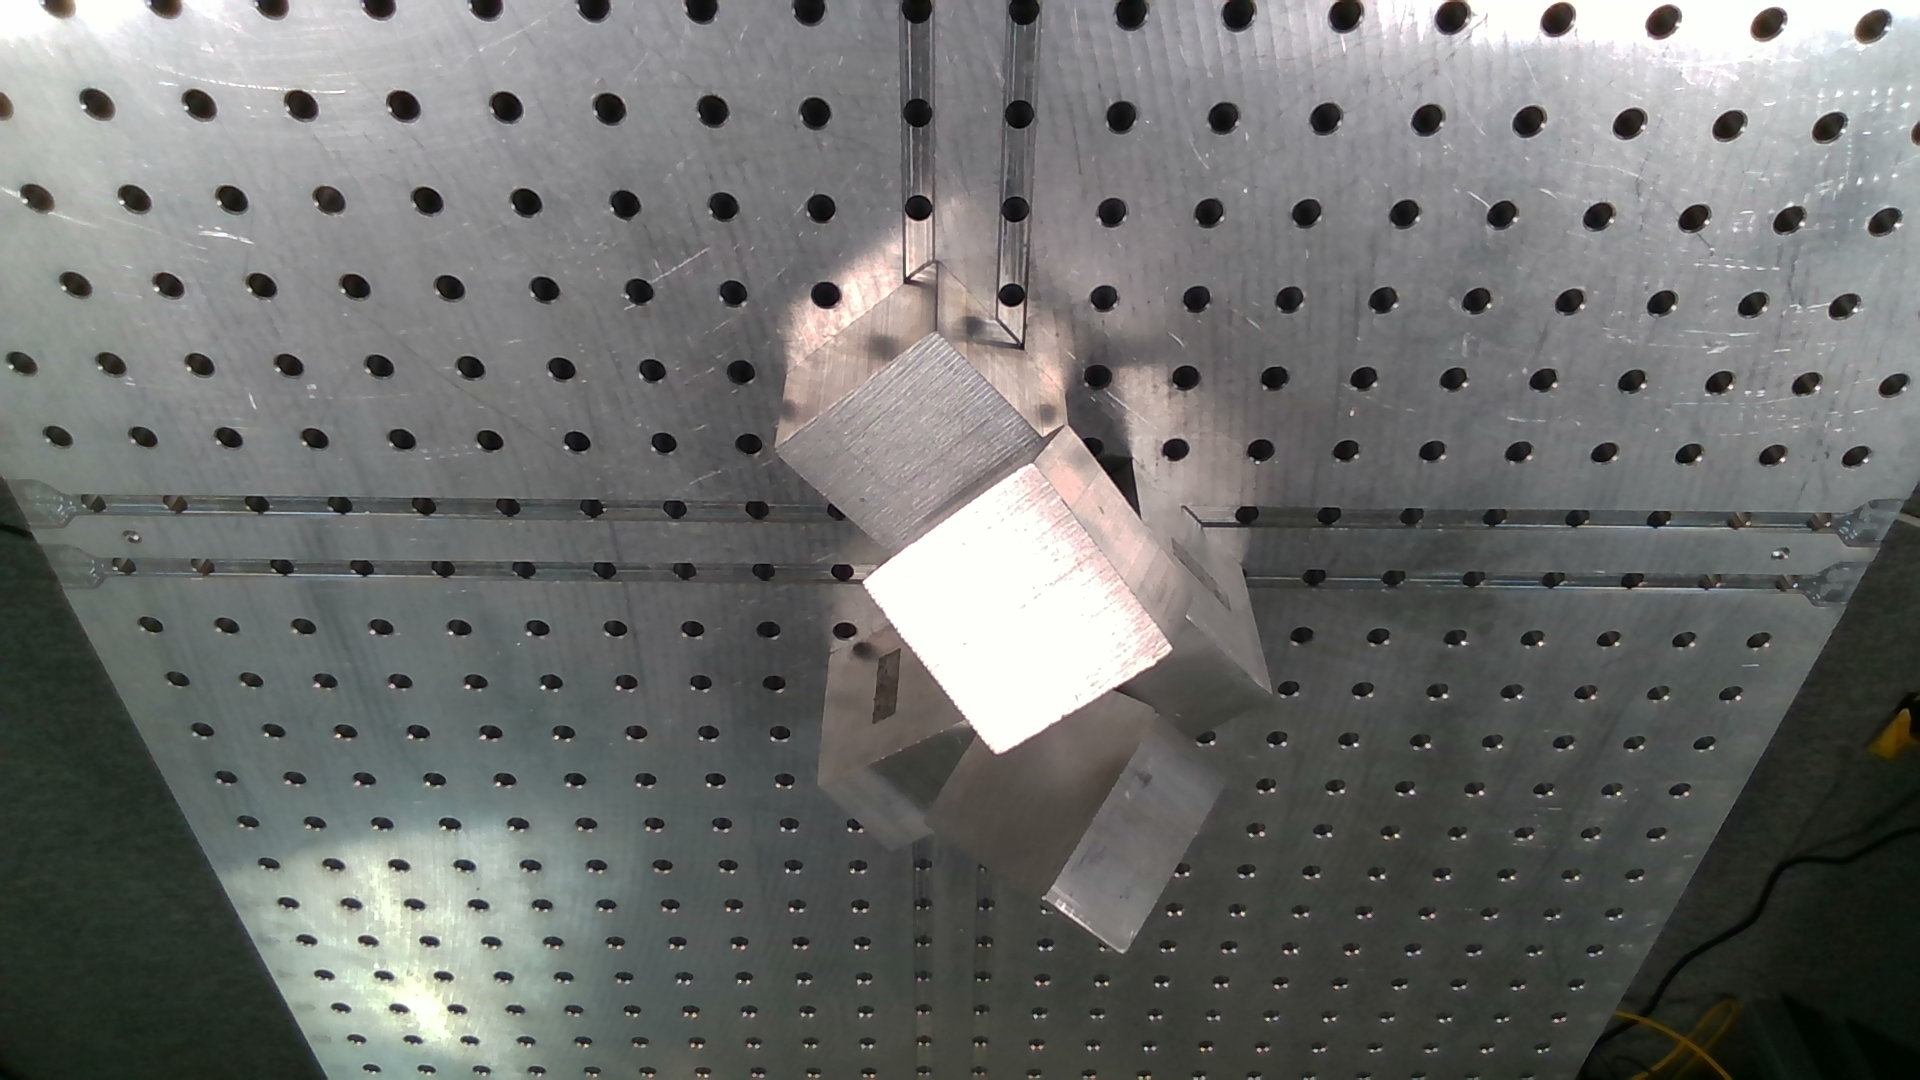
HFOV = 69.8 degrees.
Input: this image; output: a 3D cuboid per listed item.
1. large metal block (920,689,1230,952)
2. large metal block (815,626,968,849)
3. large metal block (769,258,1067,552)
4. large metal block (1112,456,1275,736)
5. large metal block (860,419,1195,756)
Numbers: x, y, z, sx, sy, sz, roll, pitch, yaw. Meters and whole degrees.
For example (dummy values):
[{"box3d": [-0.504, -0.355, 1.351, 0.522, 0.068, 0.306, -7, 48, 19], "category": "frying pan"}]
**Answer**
[{"box3d": [0.044, 0.100, 0.538, 0.050, 0.080, 0.080, 41, 76, -34], "category": "large metal block"}, {"box3d": [-0.014, 0.078, 0.610, 0.080, 0.080, 0.050, -27, 125, 21], "category": "large metal block"}, {"box3d": [-0.014, -0.045, 0.527, 0.080, 0.050, 0.080, -32, 123, 24], "category": "large metal block"}, {"box3d": [0.079, 0.026, 0.567, 0.050, 0.080, 0.080, -34, 122, 25], "category": "large metal block"}, {"box3d": [0.026, 0.017, 0.495, 0.080, 0.050, 0.080, -35, 96, 26], "category": "large metal block"}]
